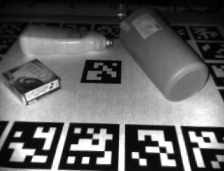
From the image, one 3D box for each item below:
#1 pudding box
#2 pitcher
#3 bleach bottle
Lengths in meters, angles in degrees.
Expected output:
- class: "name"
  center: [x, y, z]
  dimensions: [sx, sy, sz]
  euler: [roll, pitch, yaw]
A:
- class: "pudding box"
  center: [-0.198, -0.026, 0.524]
  dimensions: [0.091, 0.039, 0.112]
  euler: [-29, 53, -34]
- class: "pitcher"
  center: [0.124, -0.082, 0.555]
  dimensions: [0.191, 0.133, 0.240]
  euler: [12, 38, -41]
- class: "bleach bottle"
  center: [-0.131, -0.150, 0.643]
  dimensions: [0.251, 0.068, 0.102]
  euler: [0, 49, -3]
